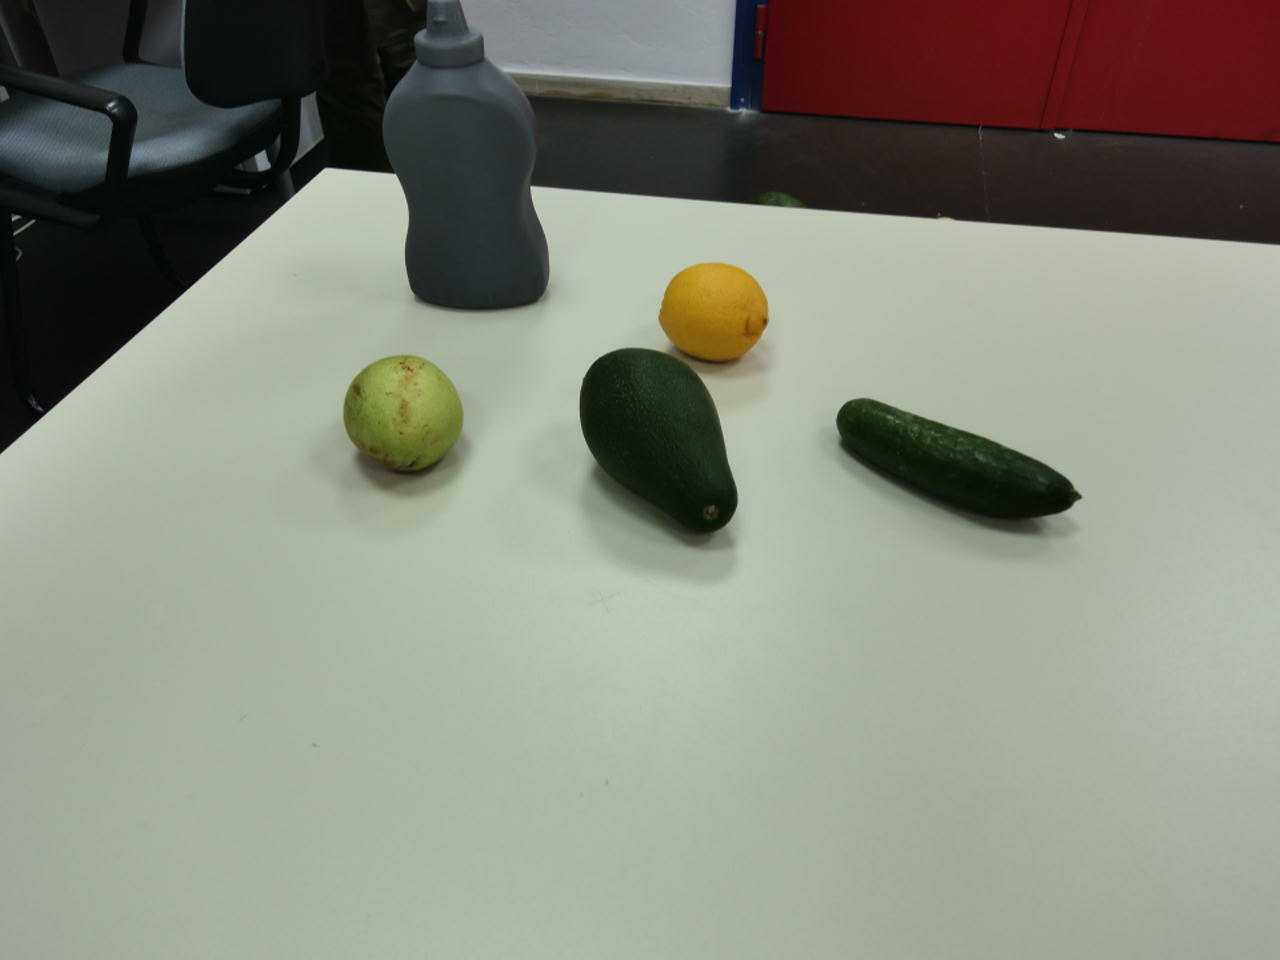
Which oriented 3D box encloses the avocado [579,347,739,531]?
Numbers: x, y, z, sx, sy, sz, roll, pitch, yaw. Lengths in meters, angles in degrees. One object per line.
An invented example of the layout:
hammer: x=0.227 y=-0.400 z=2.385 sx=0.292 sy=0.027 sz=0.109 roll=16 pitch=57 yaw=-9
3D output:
avocado: x=0.007 y=-0.024 z=0.517 sx=0.072 sy=0.071 sz=0.109 roll=-7 pitch=39 yaw=-7
